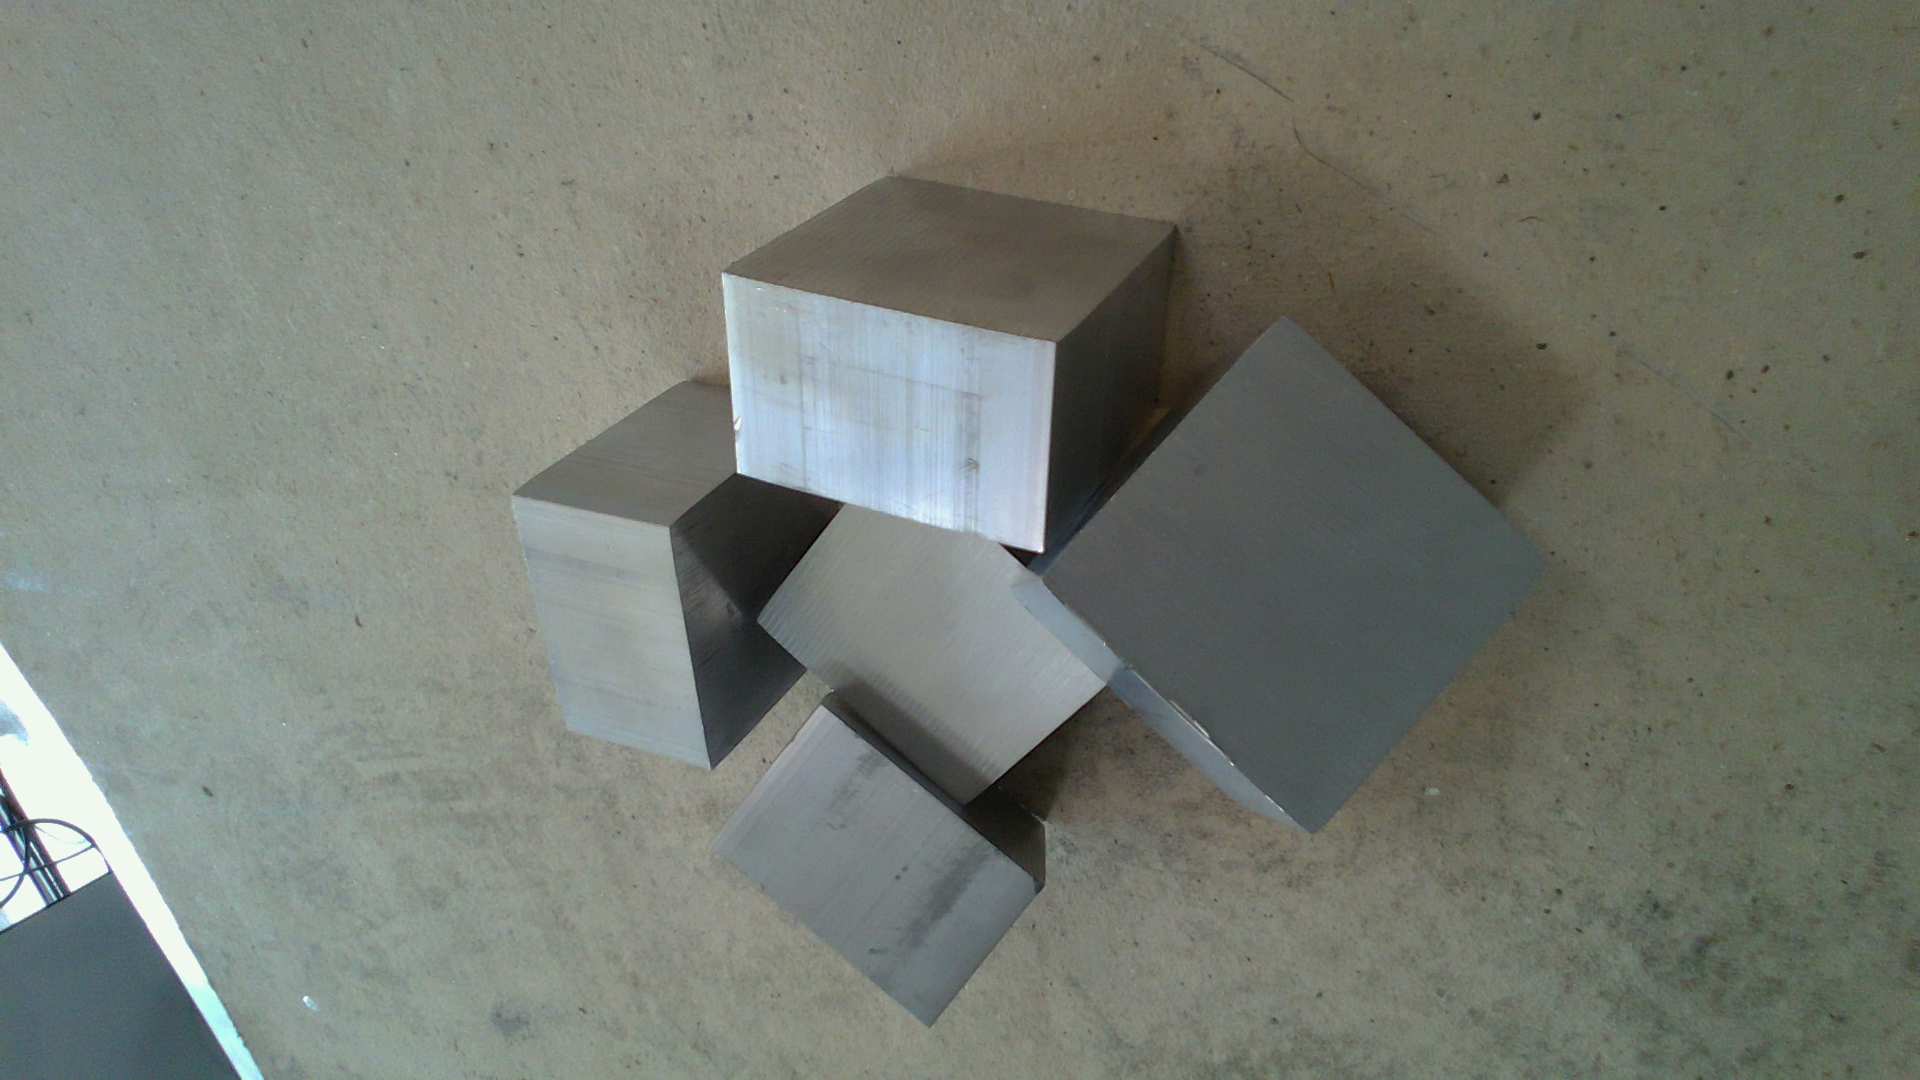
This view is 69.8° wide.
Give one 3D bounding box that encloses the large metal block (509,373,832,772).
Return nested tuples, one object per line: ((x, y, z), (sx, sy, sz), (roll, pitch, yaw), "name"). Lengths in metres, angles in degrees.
((-0.077, 0.007, 0.405), (0.050, 0.080, 0.080), (11, 124, 22), "large metal block")

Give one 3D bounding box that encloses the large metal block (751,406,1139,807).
((0.002, 0.014, 0.382), (0.080, 0.050, 0.080), (41, 130, -1), "large metal block")

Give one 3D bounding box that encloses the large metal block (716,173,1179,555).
((0.000, -0.046, 0.330), (0.080, 0.080, 0.050), (15, 124, 20), "large metal block")

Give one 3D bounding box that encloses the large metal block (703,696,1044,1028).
((-0.022, 0.088, 0.416), (0.080, 0.080, 0.050), (39, 92, 2), "large metal block")

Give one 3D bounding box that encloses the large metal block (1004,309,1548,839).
((0.069, 0.008, 0.318), (0.080, 0.080, 0.050), (43, 173, -1), "large metal block")
